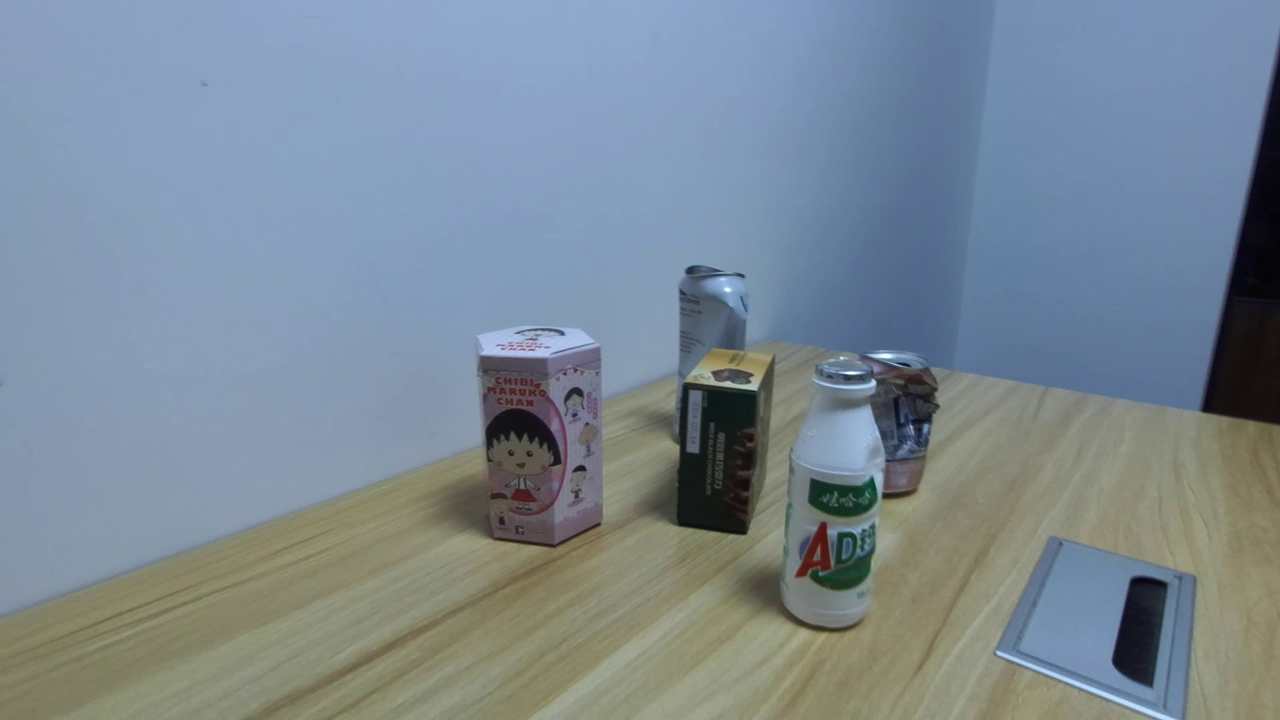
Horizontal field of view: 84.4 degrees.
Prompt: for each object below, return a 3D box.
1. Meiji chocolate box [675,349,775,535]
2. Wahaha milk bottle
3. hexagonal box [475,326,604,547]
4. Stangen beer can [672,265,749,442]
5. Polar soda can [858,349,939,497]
[{"bbox_3d":[0.067,0.057,0.534,0.056,0.109,0.110,6,16,16],"label":"Meiji chocolate box"},{"bbox_3d":[0.110,0.080,0.398,0.053,0.136,0.053,2,14,0],"label":"Wahaha milk bottle"},{"bbox_3d":[-0.070,0.051,0.499,0.091,0.136,0.084,4,15,12],"label":"hexagonal box"},{"bbox_3d":[0.065,-0.002,0.647,0.077,0.162,0.066,8,17,22],"label":"Stangen beer can"},{"bbox_3d":[0.200,0.049,0.569,0.070,0.114,0.074,15,27,27],"label":"Polar soda can"}]
